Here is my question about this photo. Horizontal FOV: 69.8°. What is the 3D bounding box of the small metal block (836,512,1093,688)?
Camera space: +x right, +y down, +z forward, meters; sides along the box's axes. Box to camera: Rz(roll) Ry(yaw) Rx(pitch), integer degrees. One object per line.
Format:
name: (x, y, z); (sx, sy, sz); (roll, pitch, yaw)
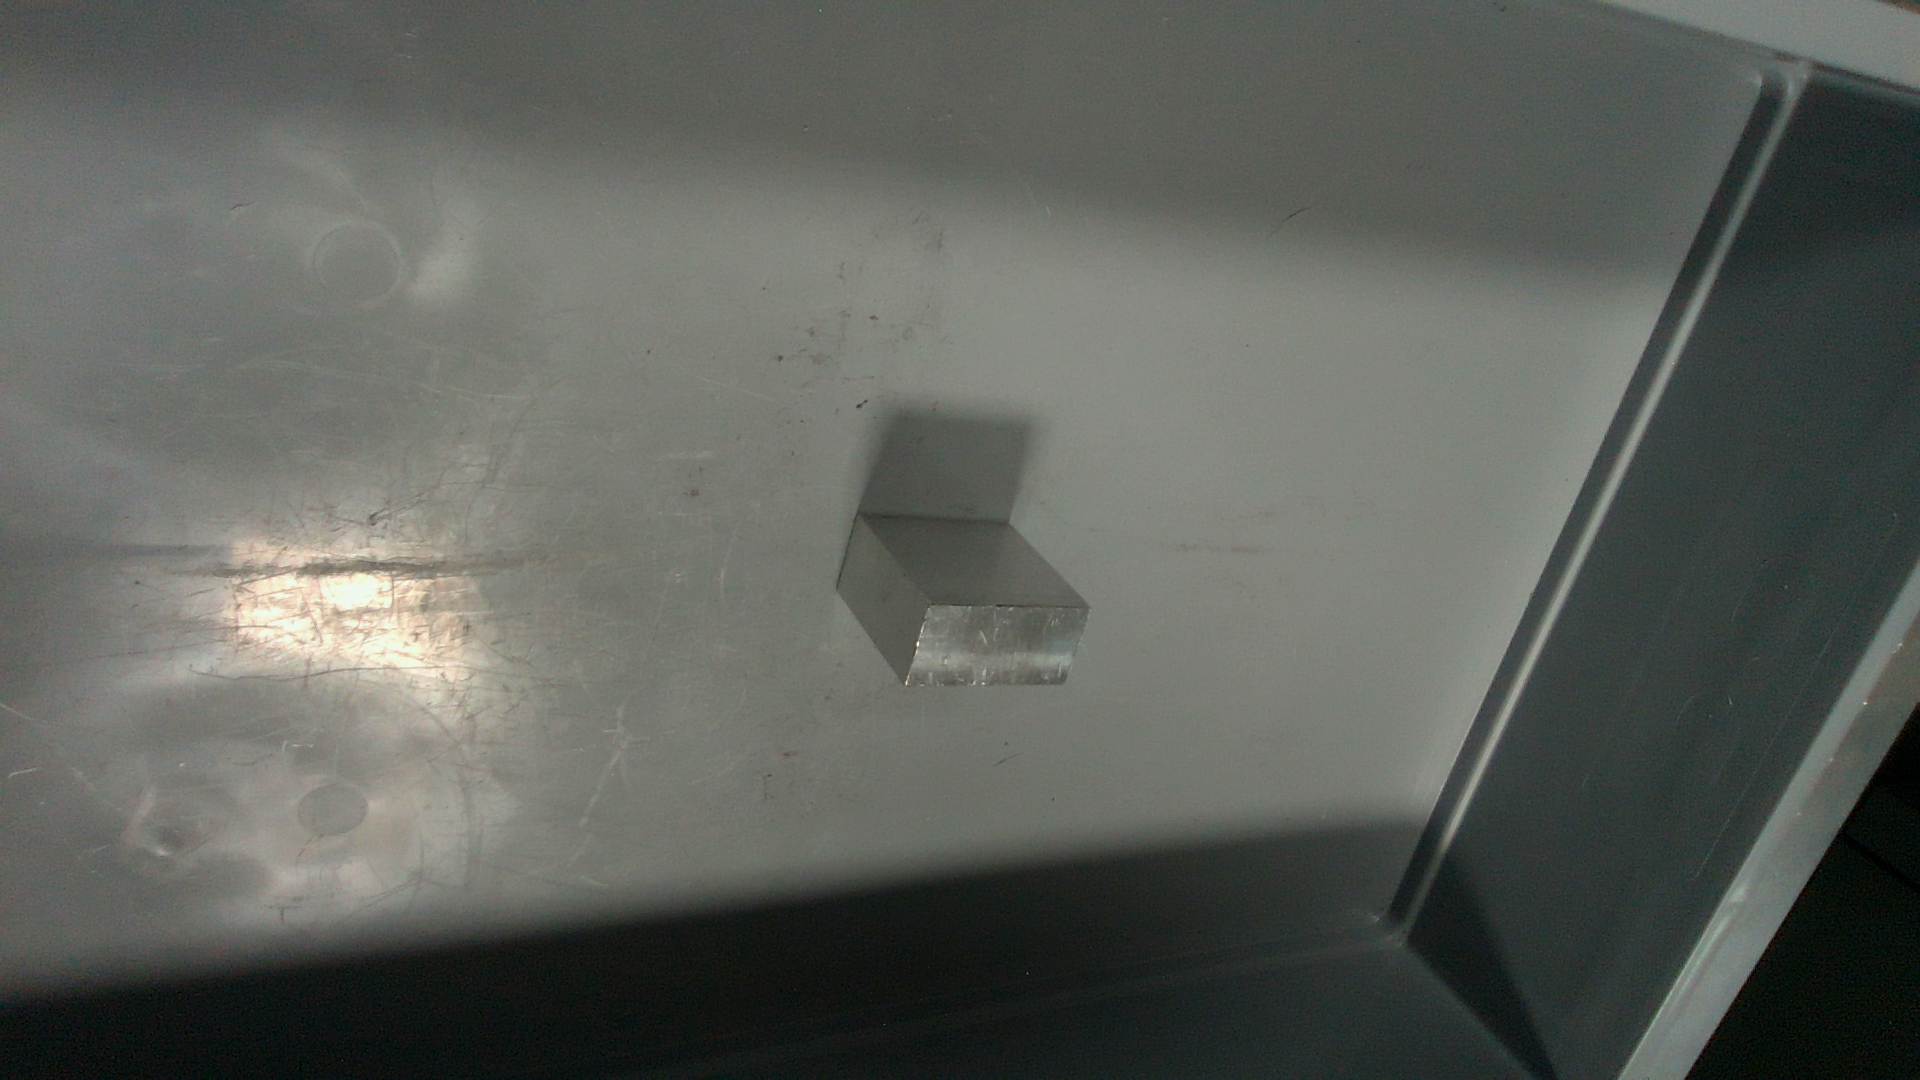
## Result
small metal block: (0.000, 0.016, 0.379); (0.050, 0.050, 0.025); (3, 117, -30)
